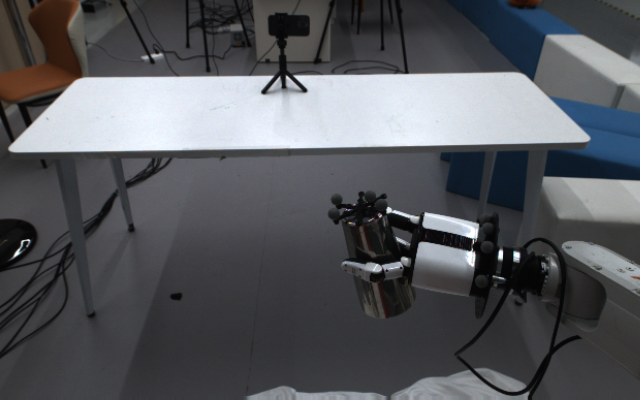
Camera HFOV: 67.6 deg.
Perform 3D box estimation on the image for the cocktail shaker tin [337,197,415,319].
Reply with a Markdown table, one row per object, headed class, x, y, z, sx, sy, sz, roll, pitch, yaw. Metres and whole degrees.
| class | x | y | z | sx | sy | sz | roll | pitch | yaw |
| --- | --- | --- | --- | --- | --- | --- | --- | --- | --- |
| cocktail shaker tin | 0.087 | 0.088 | 0.747 | 0.093 | 0.170 | 0.093 | -15 | 29 | 8 |
